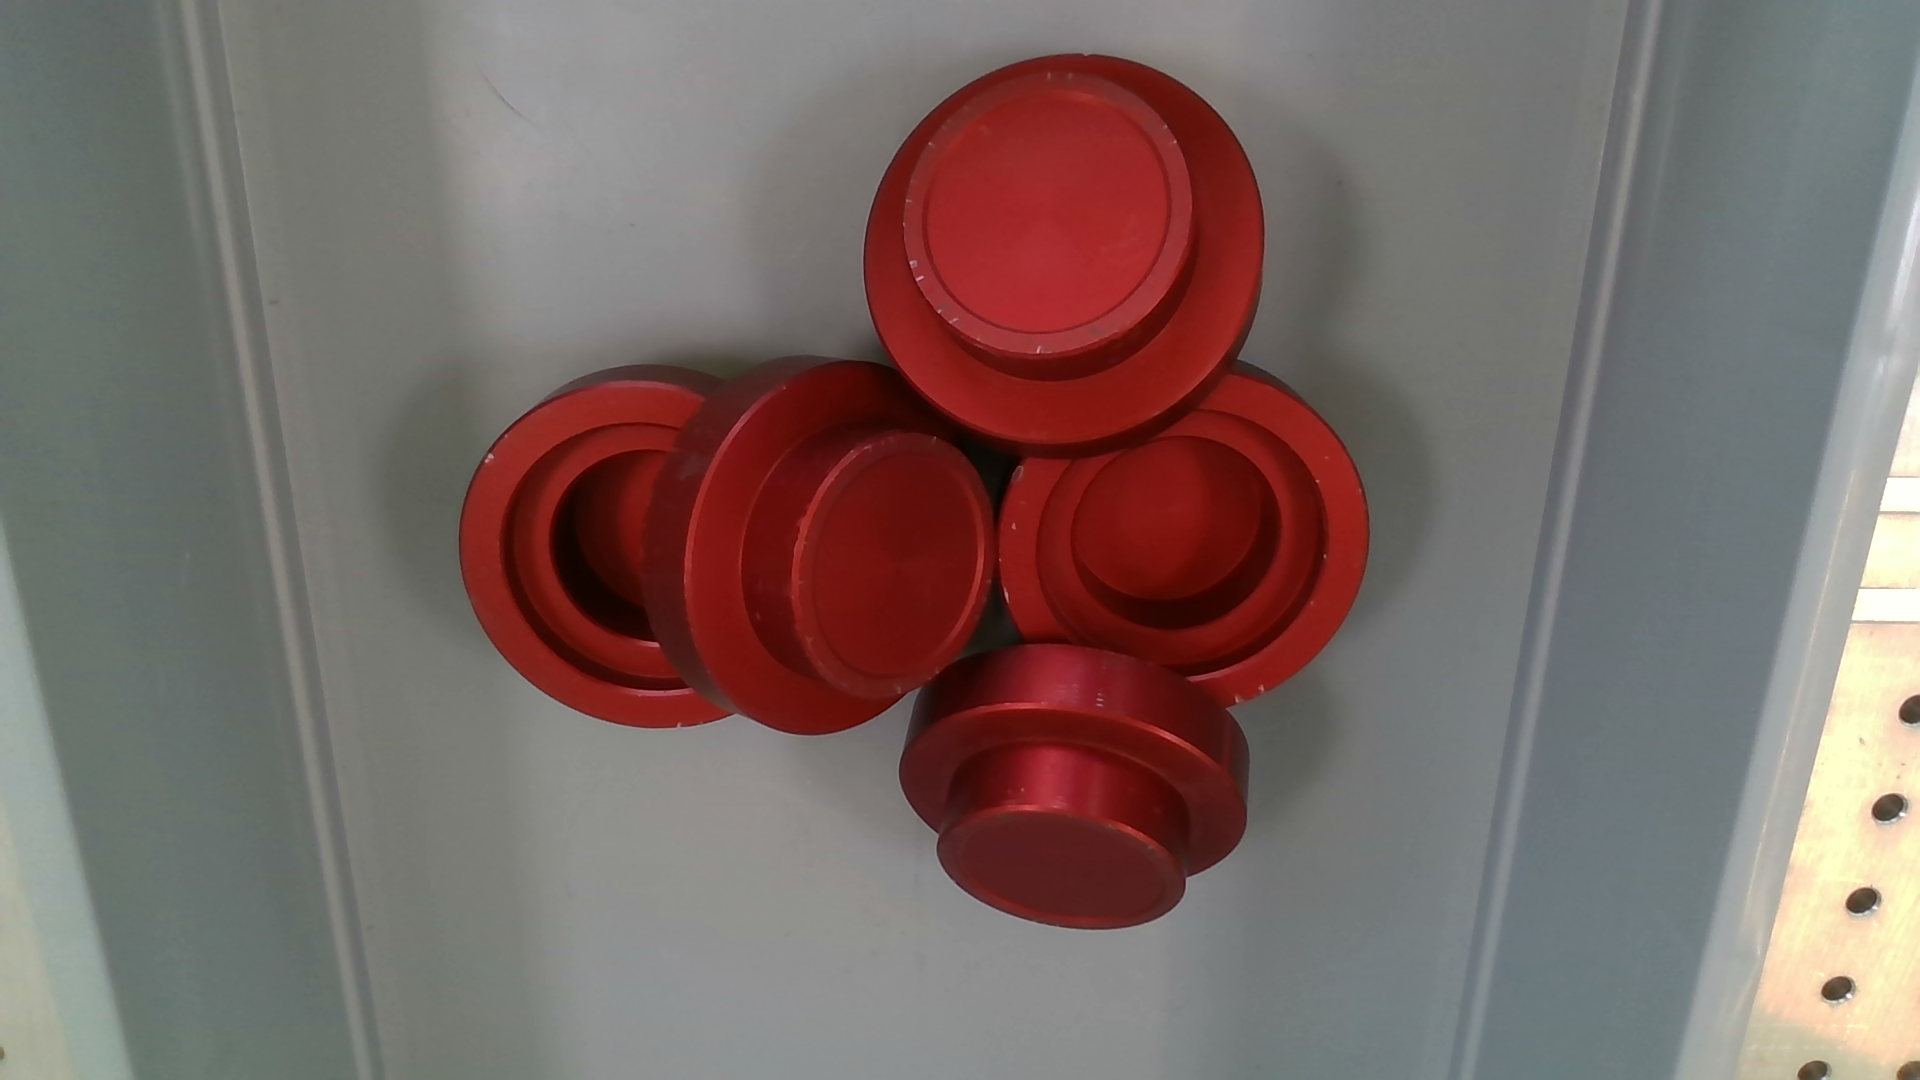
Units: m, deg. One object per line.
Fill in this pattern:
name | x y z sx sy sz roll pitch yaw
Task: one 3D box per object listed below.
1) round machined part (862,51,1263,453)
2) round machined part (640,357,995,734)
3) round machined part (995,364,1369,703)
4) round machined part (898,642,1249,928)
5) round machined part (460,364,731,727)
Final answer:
round machined part | 0.023 -0.073 0.333 0.098 0.042 0.098 -2 82 11
round machined part | -0.029 0.002 0.354 0.042 0.098 0.098 13 118 43
round machined part | 0.058 -0.005 0.380 0.098 0.042 0.098 0 110 0
round machined part | 0.030 0.074 0.387 0.098 0.042 0.098 8 141 7
round machined part | -0.083 -0.001 0.382 0.098 0.042 0.098 0 110 0
